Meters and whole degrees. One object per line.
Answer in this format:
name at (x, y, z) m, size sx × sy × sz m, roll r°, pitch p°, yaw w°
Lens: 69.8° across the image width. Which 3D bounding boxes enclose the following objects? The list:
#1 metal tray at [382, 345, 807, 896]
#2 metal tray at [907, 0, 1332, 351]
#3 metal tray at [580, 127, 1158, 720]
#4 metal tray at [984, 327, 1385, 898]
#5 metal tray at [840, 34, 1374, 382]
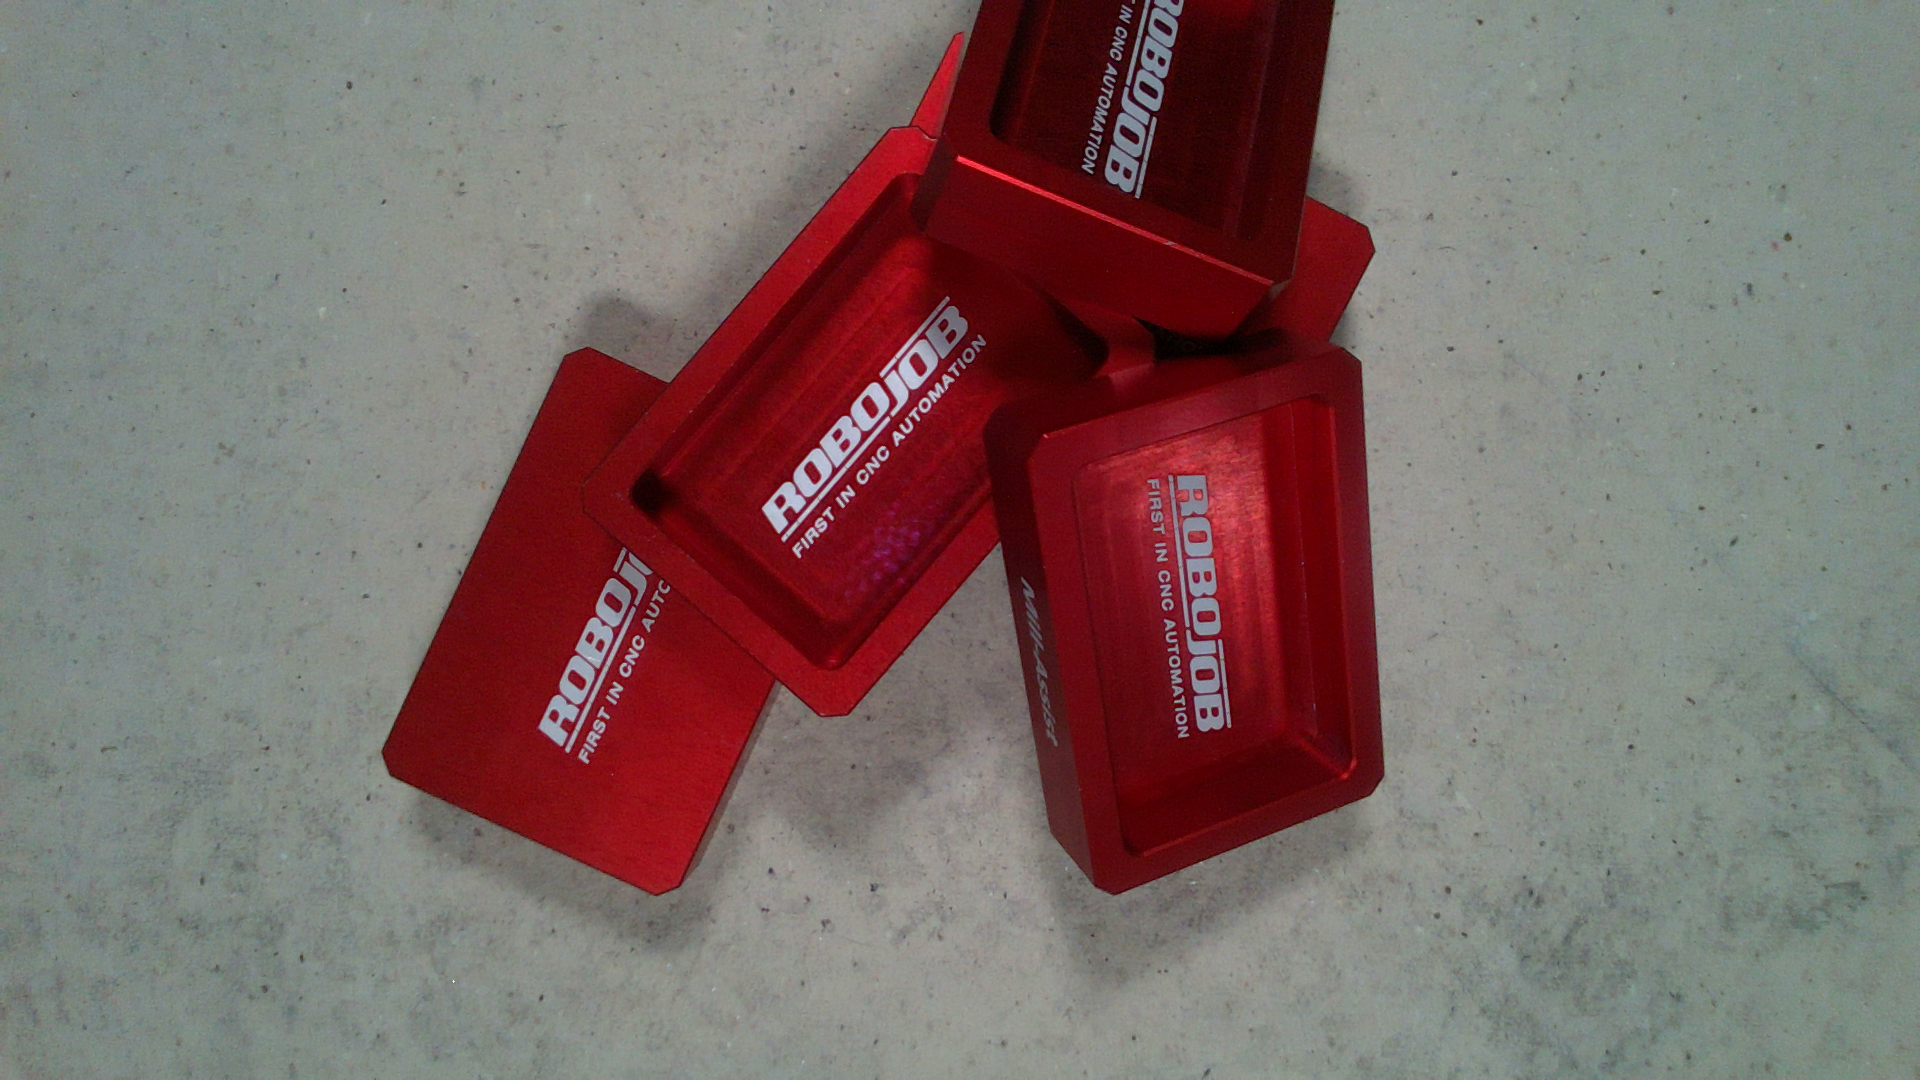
metal tray at (-0.093, 0.022, 0.392) m, size 0.090 × 0.030 × 0.130 m, roll 24°, pitch 90°, yaw 0°
metal tray at (0.046, -0.123, 0.358) m, size 0.090 × 0.030 × 0.130 m, roll 20°, pitch 63°, yaw -10°
metal tray at (-0.023, -0.030, 0.363) m, size 0.090 × 0.030 × 0.130 m, roll 41°, pitch 90°, yaw 0°
metal tray at (0.062, 0.019, 0.359) m, size 0.090 × 0.030 × 0.130 m, roll -18°, pitch 115°, yaw -16°
metal tray at (0.038, -0.074, 0.393) m, size 0.130 × 0.030 × 0.090 m, roll 27°, pitch 90°, yaw 0°
